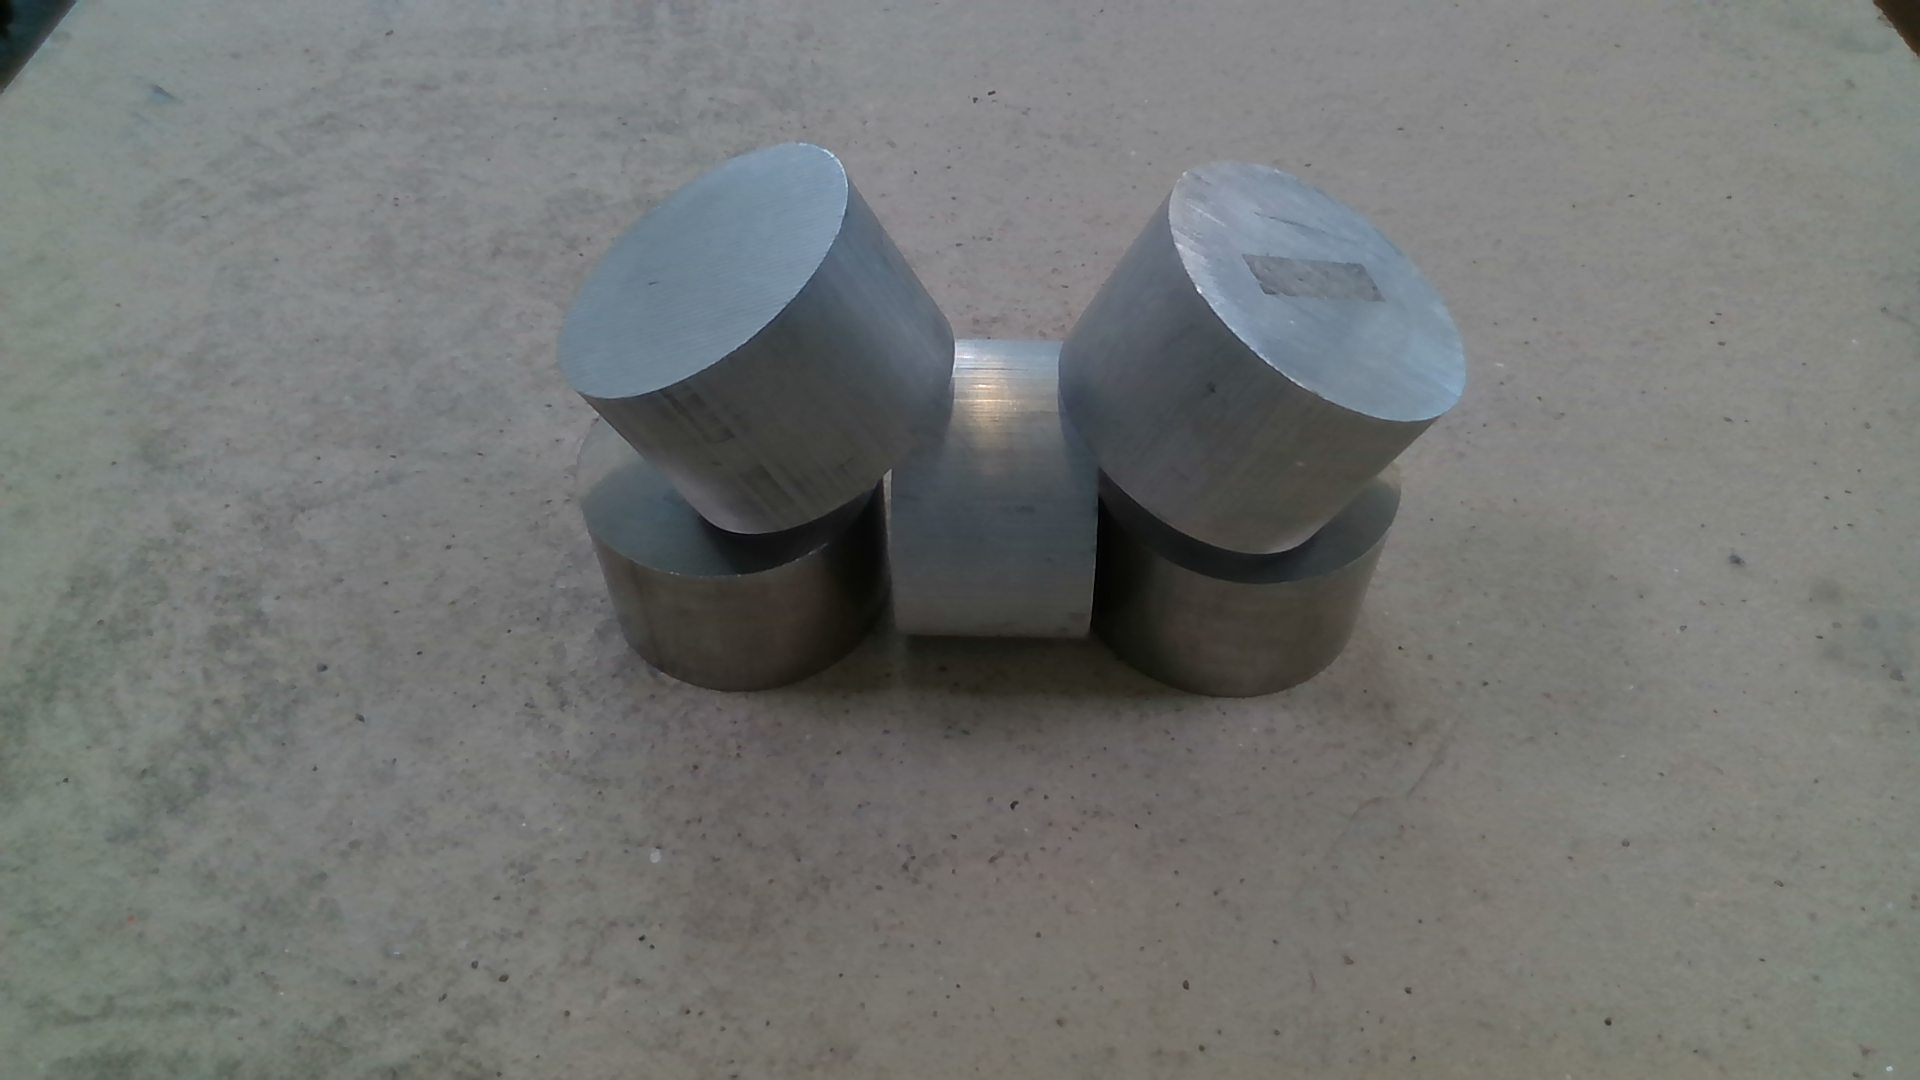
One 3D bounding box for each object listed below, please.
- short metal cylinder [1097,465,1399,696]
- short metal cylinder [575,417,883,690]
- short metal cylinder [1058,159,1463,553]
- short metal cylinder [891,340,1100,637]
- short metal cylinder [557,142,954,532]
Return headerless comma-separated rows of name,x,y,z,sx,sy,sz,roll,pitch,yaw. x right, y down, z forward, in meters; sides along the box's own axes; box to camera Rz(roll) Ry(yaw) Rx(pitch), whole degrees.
short metal cylinder,0.075,-0.004,0.382,0.080,0.050,0.080,0,50,0
short metal cylinder,-0.061,-0.006,0.383,0.080,0.050,0.080,0,50,0
short metal cylinder,0.071,-0.044,0.330,0.080,0.050,0.080,17,48,-19
short metal cylinder,0.009,-0.014,0.371,0.050,0.080,0.080,1,50,1
short metal cylinder,-0.049,-0.049,0.332,0.080,0.050,0.080,-19,45,21
